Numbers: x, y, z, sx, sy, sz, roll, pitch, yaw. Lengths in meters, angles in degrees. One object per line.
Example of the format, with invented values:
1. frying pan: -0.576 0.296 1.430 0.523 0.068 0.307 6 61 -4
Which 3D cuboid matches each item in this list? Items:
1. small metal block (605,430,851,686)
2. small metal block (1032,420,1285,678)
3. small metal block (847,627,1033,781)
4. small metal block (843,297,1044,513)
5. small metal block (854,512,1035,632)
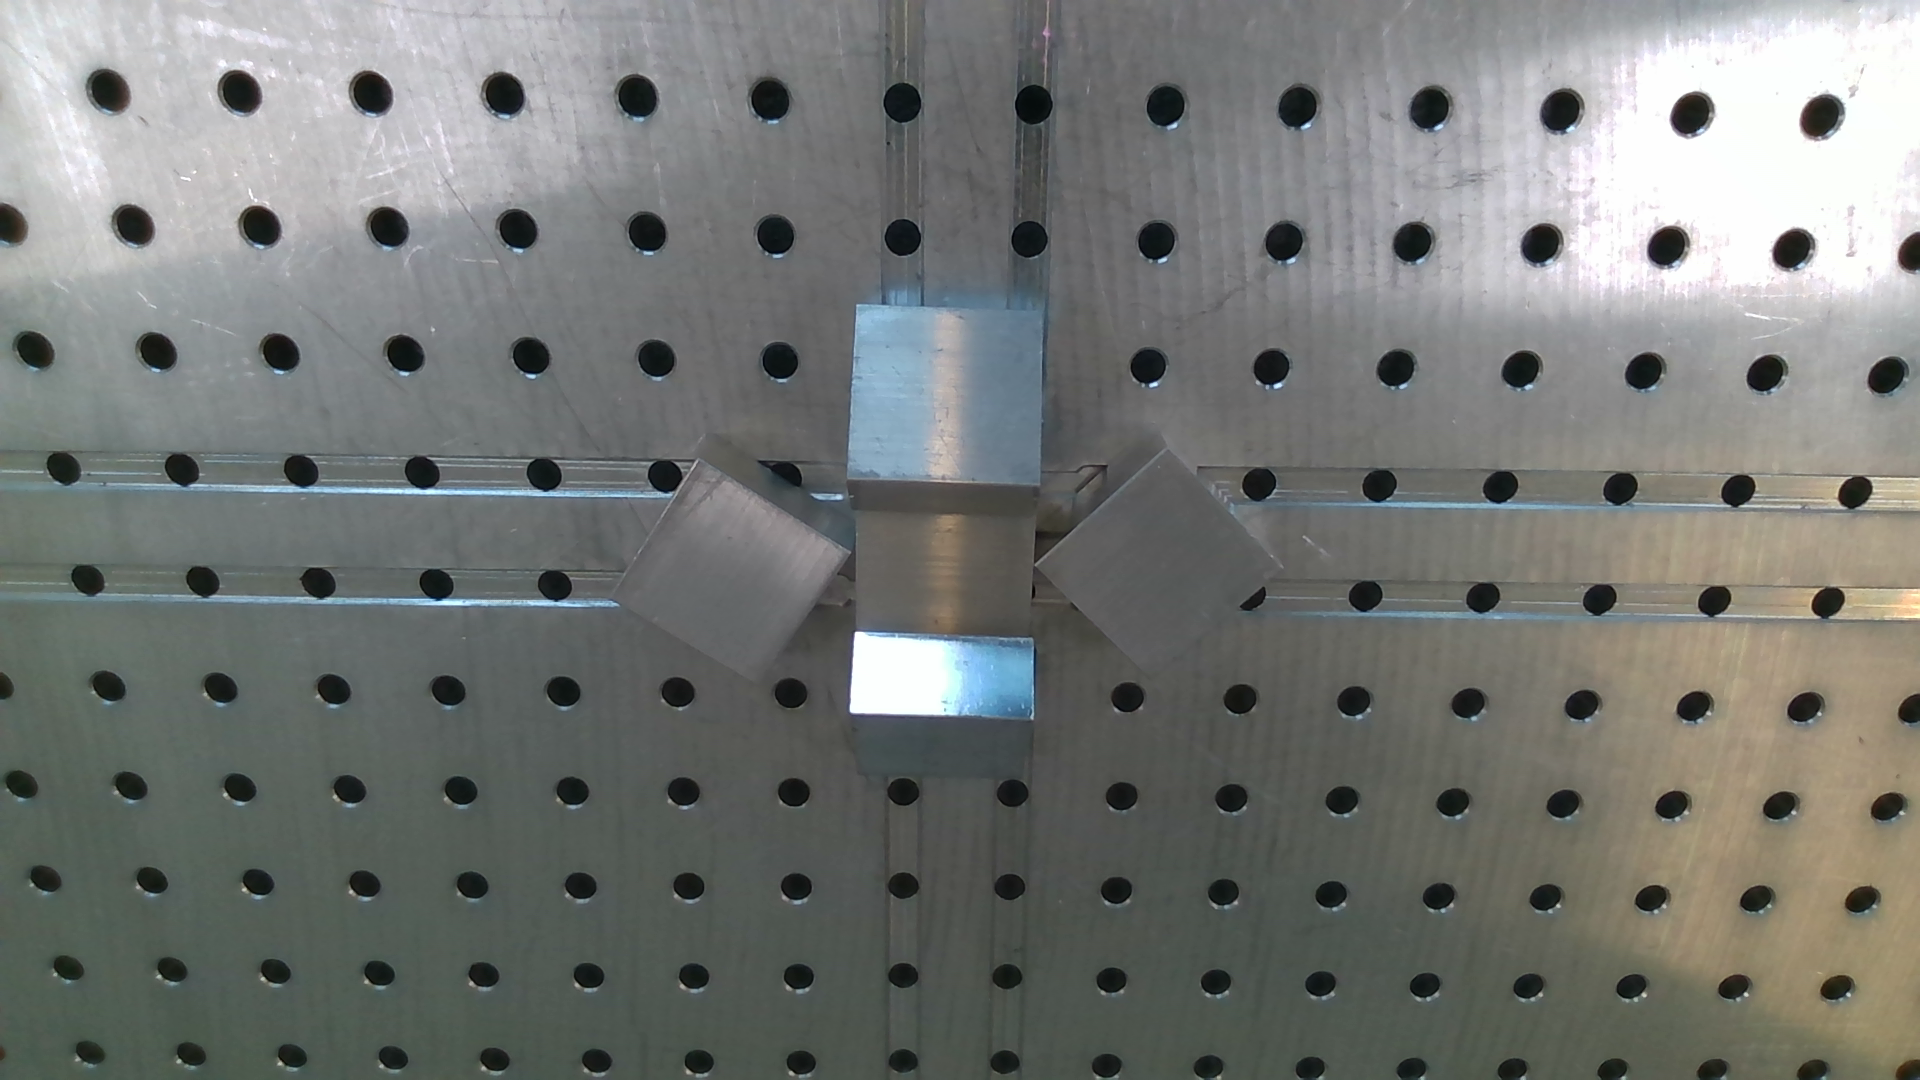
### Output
1. small metal block: -0.065 0.005 0.397 0.050 0.025 0.050 33 105 -11
2. small metal block: 0.055 0.002 0.396 0.050 0.025 0.050 -42 105 13
3. small metal block: -0.006 0.048 0.399 0.050 0.025 0.050 2 150 -1
4. small metal block: -0.004 -0.036 0.369 0.050 0.025 0.050 2 74 0
5. small metal block: -0.005 0.003 0.396 0.050 0.025 0.050 1 110 -1
